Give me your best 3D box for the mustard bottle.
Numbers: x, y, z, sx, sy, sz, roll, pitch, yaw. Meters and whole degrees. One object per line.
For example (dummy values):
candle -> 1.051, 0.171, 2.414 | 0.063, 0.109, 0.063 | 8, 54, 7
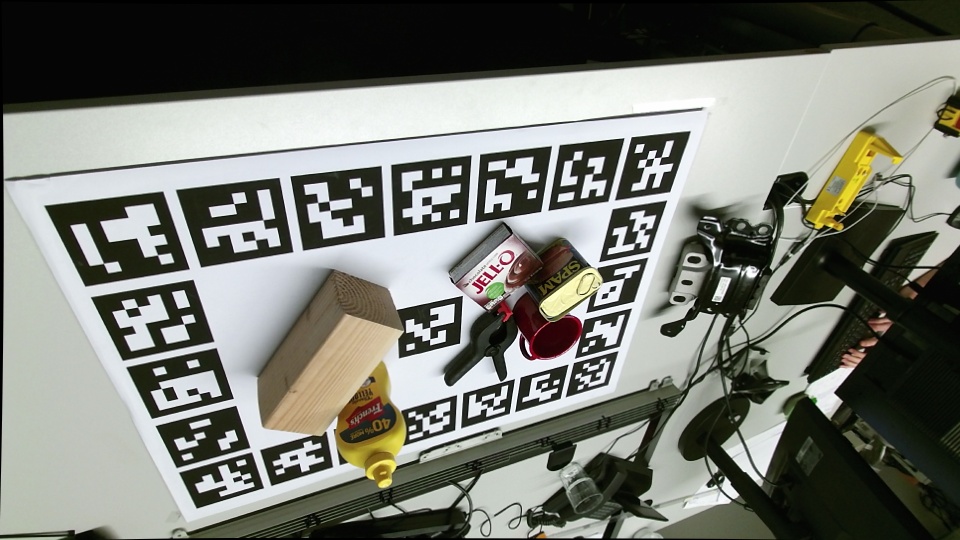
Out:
mustard bottle -> -0.151, 0.225, 0.745 | 0.096, 0.191, 0.058 | -16, 129, -17

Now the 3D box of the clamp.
clamp -> 0.016, 0.139, 0.878 | 0.122, 0.036, 0.165 | 7, 118, -29

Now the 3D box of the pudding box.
pudding box -> 0.022, 0.006, 0.774 | 0.114, 0.038, 0.090 | -41, 131, 8

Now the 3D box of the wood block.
wood block -> -0.205, 0.119, 0.712 | 0.090, 0.090, 0.206 | 25, 112, -40

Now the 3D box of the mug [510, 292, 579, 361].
mug -> 0.096, 0.094, 0.879 | 0.094, 0.081, 0.117 | 9, 117, -32

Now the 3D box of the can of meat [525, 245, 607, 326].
can of meat -> 0.122, 0.020, 0.799 | 0.102, 0.083, 0.058 | -35, 131, 0
